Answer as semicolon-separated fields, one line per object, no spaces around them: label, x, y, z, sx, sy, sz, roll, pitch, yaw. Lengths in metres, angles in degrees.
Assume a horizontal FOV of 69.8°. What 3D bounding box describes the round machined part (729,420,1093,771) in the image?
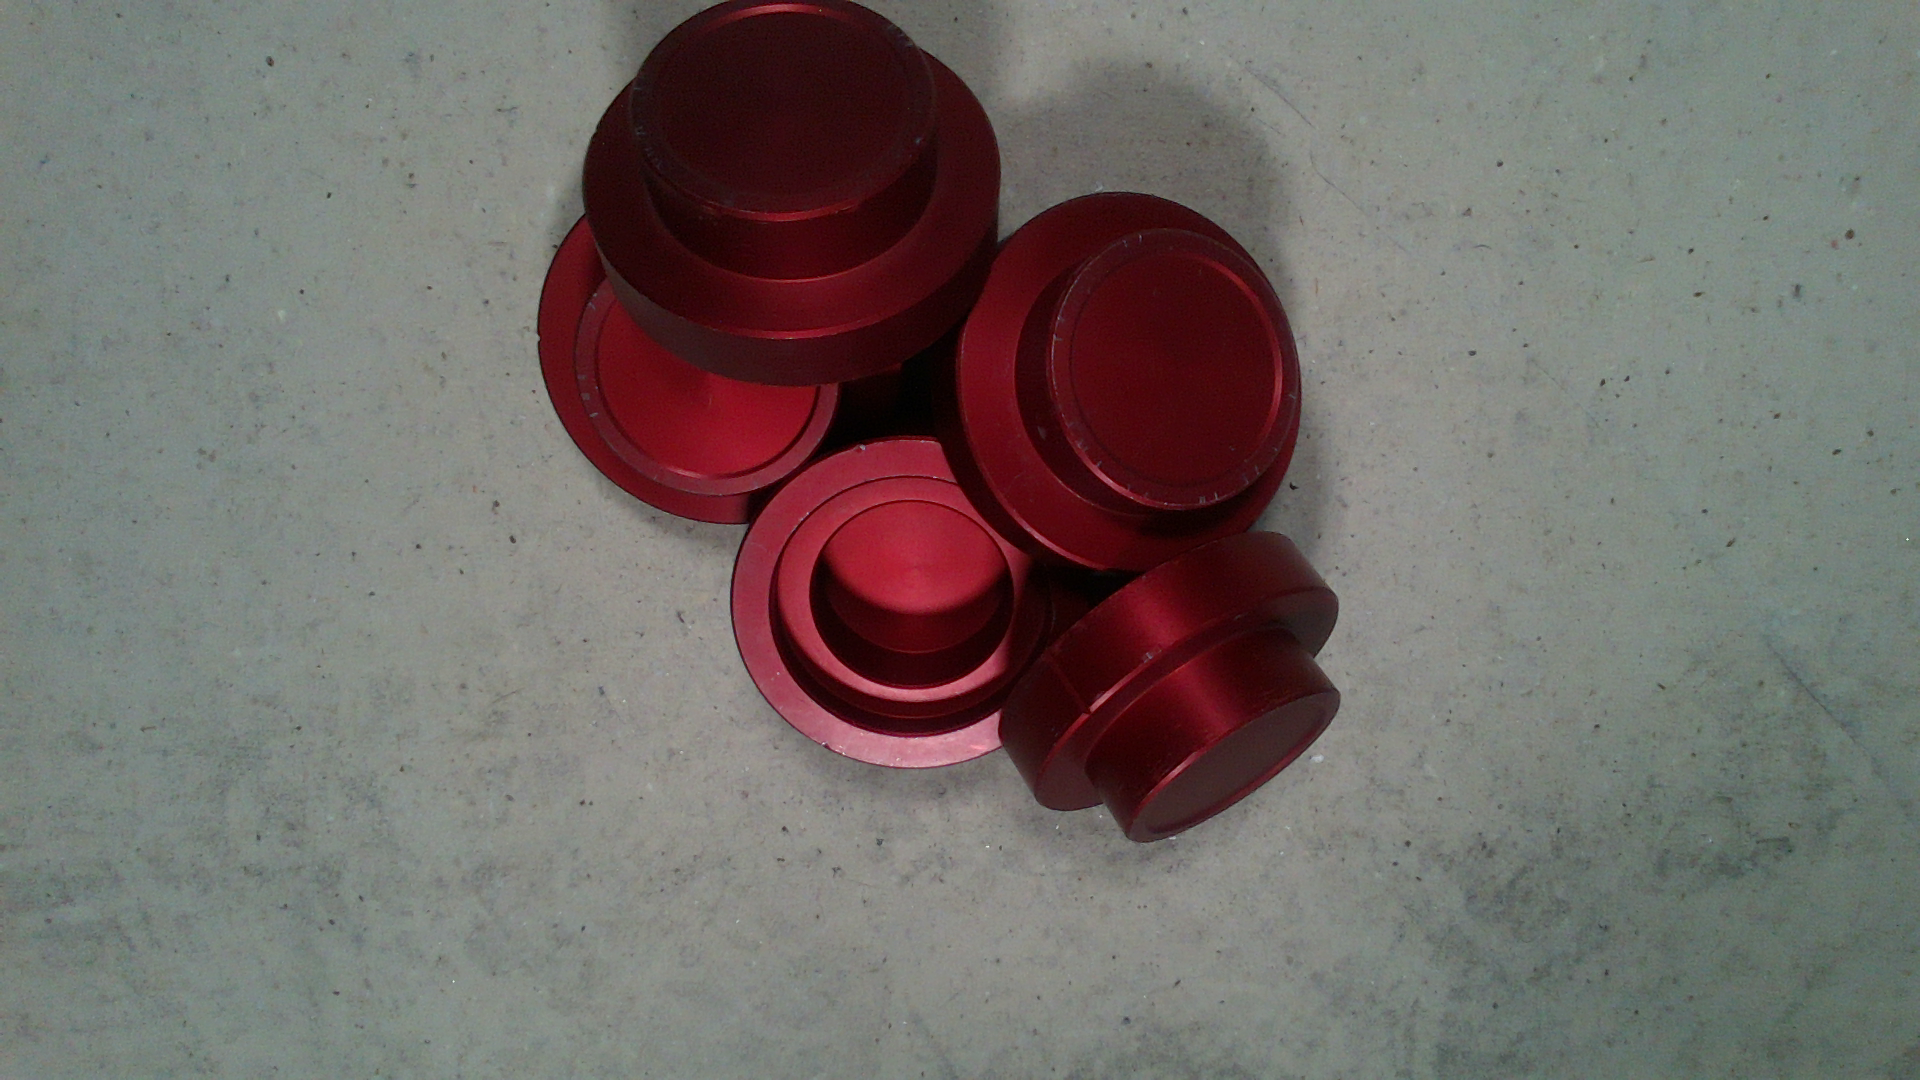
round machined part;-0.013;0.012;0.389;0.098;0.042;0.098;0;110;0

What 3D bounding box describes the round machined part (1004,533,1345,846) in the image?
round machined part;0.064;0.046;0.373;0.098;0.098;0.042;-41;64;14

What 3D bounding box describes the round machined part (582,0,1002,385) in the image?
round machined part;-0.039;-0.088;0.321;0.098;0.098;0.042;1;152;0

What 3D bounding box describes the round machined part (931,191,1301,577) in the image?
round machined part;0.046;-0.040;0.347;0.098;0.042;0.098;1;86;-21

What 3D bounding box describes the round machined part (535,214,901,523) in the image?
round machined part;-0.064;-0.050;0.367;0.098;0.042;0.098;0;110;0
